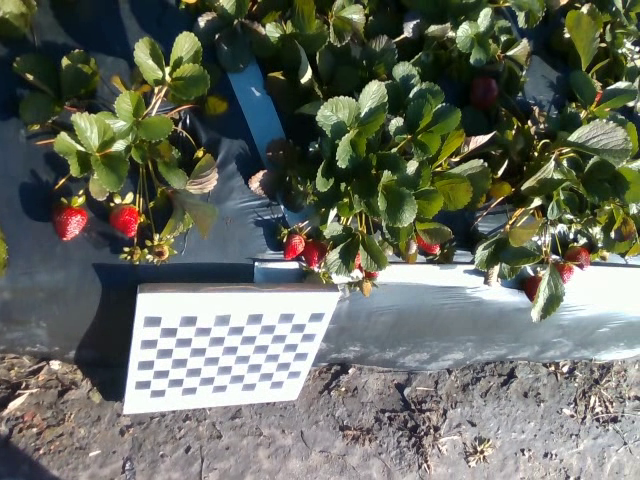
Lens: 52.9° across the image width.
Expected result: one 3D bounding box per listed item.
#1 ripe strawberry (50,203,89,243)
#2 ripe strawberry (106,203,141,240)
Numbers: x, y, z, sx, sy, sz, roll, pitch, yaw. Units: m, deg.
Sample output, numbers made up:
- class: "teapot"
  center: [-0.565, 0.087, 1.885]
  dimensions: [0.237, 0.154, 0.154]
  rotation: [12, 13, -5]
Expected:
- class: "ripe strawberry"
  center: [-0.325, -0.019, 0.810]
  dimensions: [0.051, 0.050, 0.044]
  rotation: [16, -30, -34]
- class: "ripe strawberry"
  center: [-0.257, -0.023, 0.838]
  dimensions: [0.042, 0.049, 0.039]
  rotation: [-27, -16, 12]
